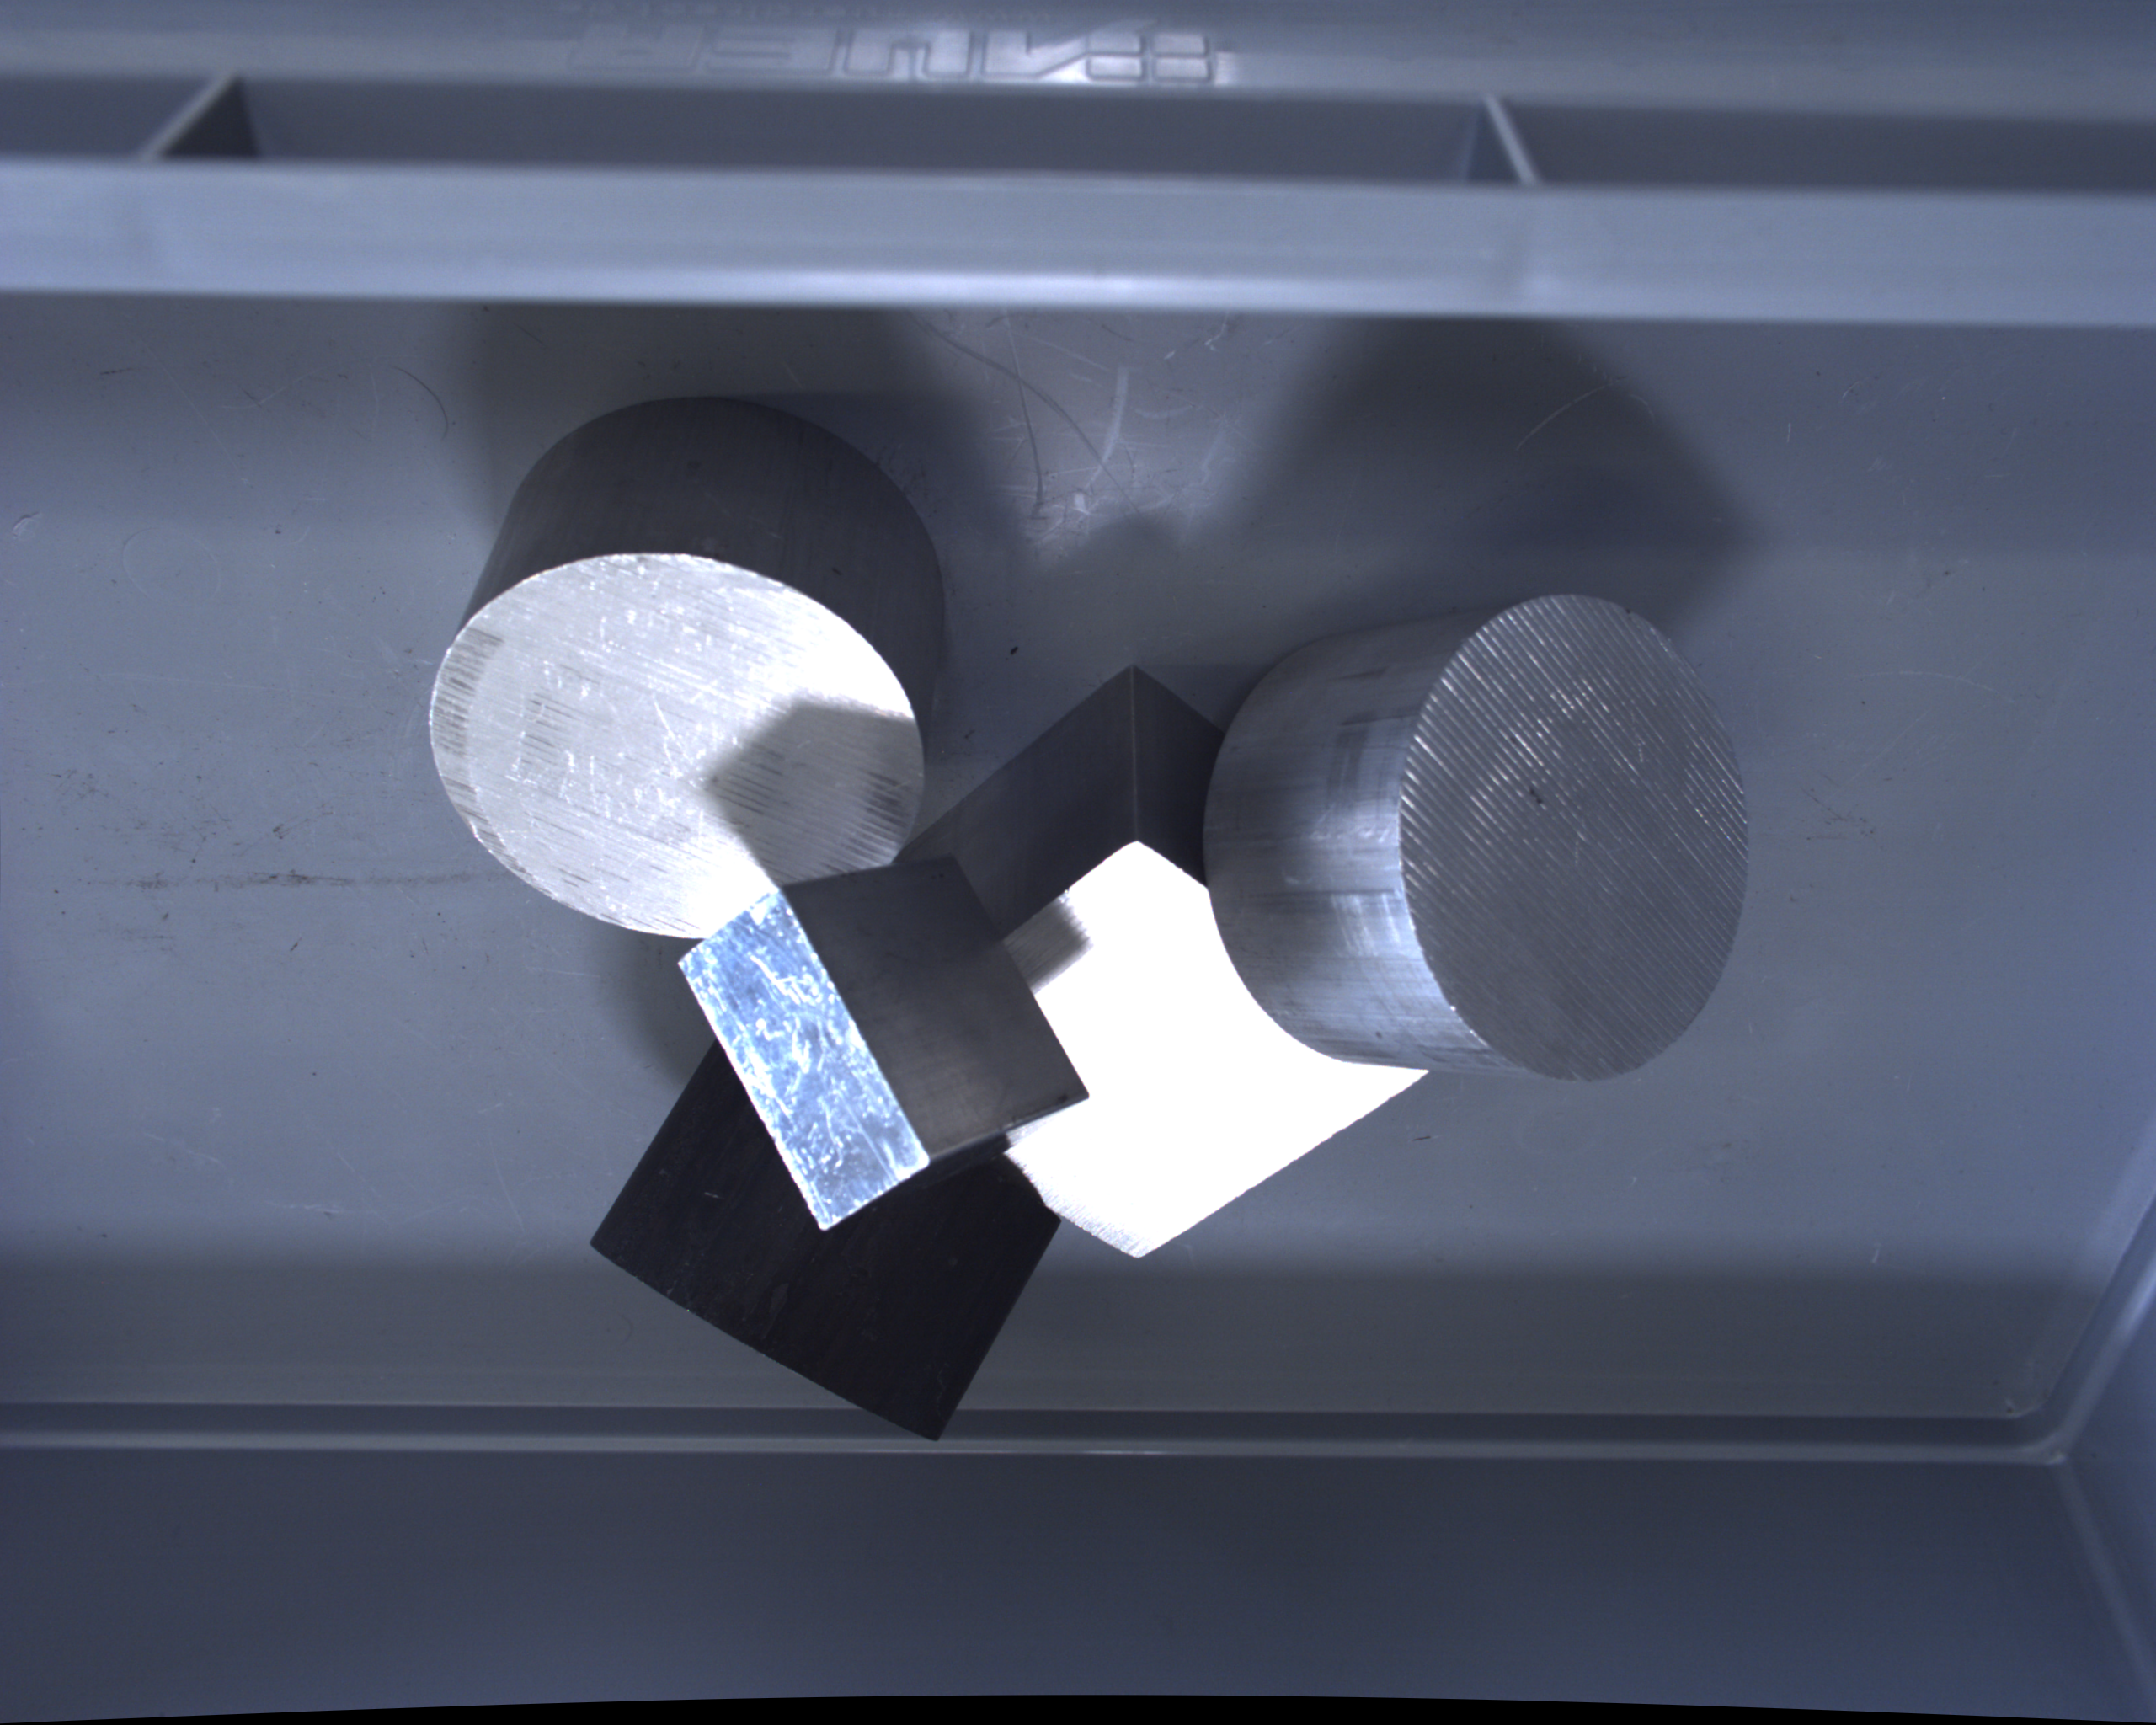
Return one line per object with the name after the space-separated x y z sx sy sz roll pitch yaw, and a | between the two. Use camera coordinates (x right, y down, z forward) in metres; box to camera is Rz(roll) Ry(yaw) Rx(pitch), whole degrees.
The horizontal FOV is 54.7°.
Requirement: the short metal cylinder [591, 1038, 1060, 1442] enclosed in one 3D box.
-0.051 0.076 0.427 0.080 0.050 0.080 29 168 7 | short metal cylinder

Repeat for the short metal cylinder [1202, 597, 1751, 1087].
0.069 -0.003 0.360 0.080 0.080 0.050 36 160 -26 | short metal cylinder

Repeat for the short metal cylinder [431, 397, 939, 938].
-0.065 -0.033 0.362 0.081 0.050 0.079 0 130 0 | short metal cylinder

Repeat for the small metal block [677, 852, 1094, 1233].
-0.031 0.028 0.349 0.025 0.050 0.050 -36 78 28 | small metal block

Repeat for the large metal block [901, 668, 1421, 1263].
0.011 0.023 0.407 0.080 0.050 0.080 37 121 -27 | large metal block
